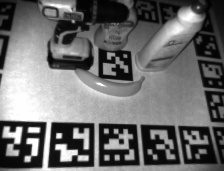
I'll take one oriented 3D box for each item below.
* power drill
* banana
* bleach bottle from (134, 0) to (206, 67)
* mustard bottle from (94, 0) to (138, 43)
[{"bbox_3d":[-0.077,-0.145,0.508,0.186,0.186,0.057,2,62,-18],"label":"power drill"},{"bbox_3d":[0.005,-0.027,0.590,0.198,0.039,0.074,7,72,-12],"label":"banana"},{"bbox_3d":[0.148,-0.131,0.568,0.103,0.250,0.067,-4,71,-17],"label":"bleach bottle"},{"bbox_3d":[0.016,-0.187,0.573,0.097,0.191,0.058,5,67,-15],"label":"mustard bottle"}]
